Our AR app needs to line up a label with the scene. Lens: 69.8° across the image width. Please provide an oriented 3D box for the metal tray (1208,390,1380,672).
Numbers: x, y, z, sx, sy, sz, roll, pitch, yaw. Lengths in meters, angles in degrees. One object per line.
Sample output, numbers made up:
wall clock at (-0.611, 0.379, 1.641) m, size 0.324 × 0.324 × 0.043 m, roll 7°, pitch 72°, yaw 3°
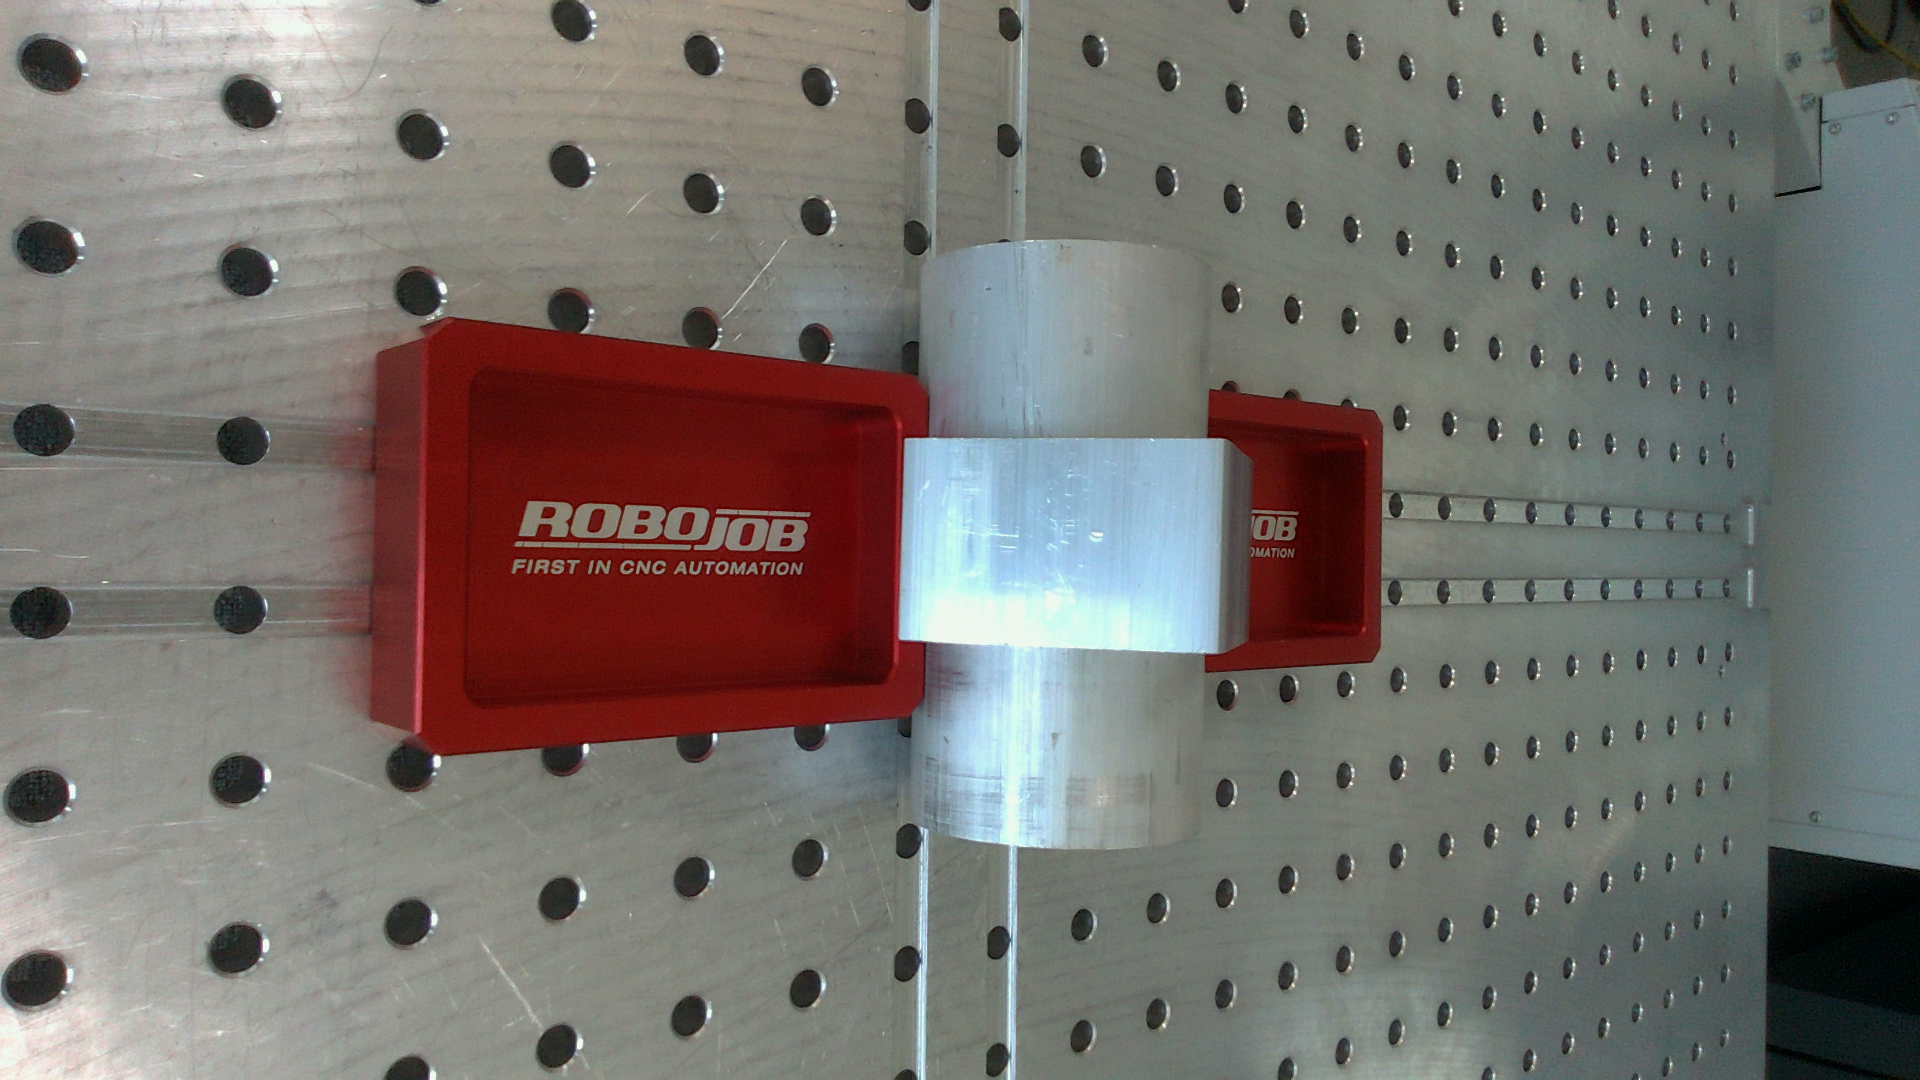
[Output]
metal tray at (0.092, -0.003, 0.464) m, size 0.131 × 0.030 × 0.090 m, roll 1°, pitch 89°, yaw -40°

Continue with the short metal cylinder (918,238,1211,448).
short metal cylinder at (0.028, -0.049, 0.379) m, size 0.080 × 0.080 × 0.050 m, roll 2°, pitch 89°, yaw -40°

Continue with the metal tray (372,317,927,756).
metal tray at (-0.068, 0.000, 0.331) m, size 0.131 × 0.030 × 0.090 m, roll 1°, pitch 89°, yaw -40°

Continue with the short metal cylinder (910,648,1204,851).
short metal cylinder at (0.027, 0.052, 0.378) m, size 0.080 × 0.080 × 0.050 m, roll 2°, pitch 89°, yaw -40°

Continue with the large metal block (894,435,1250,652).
large metal block at (0.034, 0.002, 0.366) m, size 0.080 × 0.080 × 0.050 m, roll 7°, pitch 84°, yaw -74°
